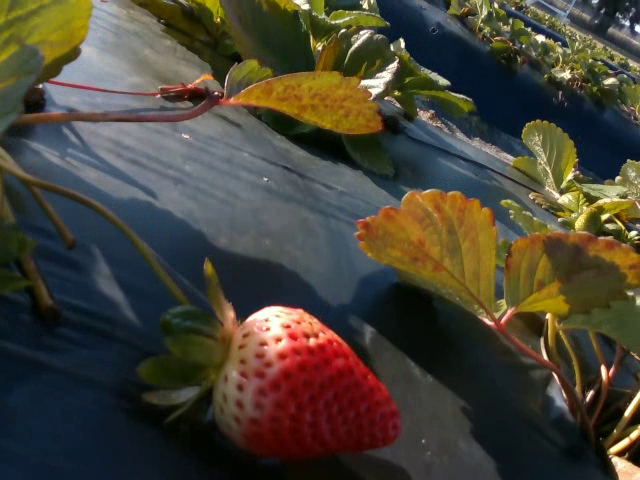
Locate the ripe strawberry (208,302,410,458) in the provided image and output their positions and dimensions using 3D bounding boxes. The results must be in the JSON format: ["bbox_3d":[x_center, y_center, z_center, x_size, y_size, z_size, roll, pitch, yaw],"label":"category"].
[{"bbox_3d":[0.000,0.038,0.157,0.063,0.045,0.044,22,-12,1],"label":"ripe strawberry"}]
